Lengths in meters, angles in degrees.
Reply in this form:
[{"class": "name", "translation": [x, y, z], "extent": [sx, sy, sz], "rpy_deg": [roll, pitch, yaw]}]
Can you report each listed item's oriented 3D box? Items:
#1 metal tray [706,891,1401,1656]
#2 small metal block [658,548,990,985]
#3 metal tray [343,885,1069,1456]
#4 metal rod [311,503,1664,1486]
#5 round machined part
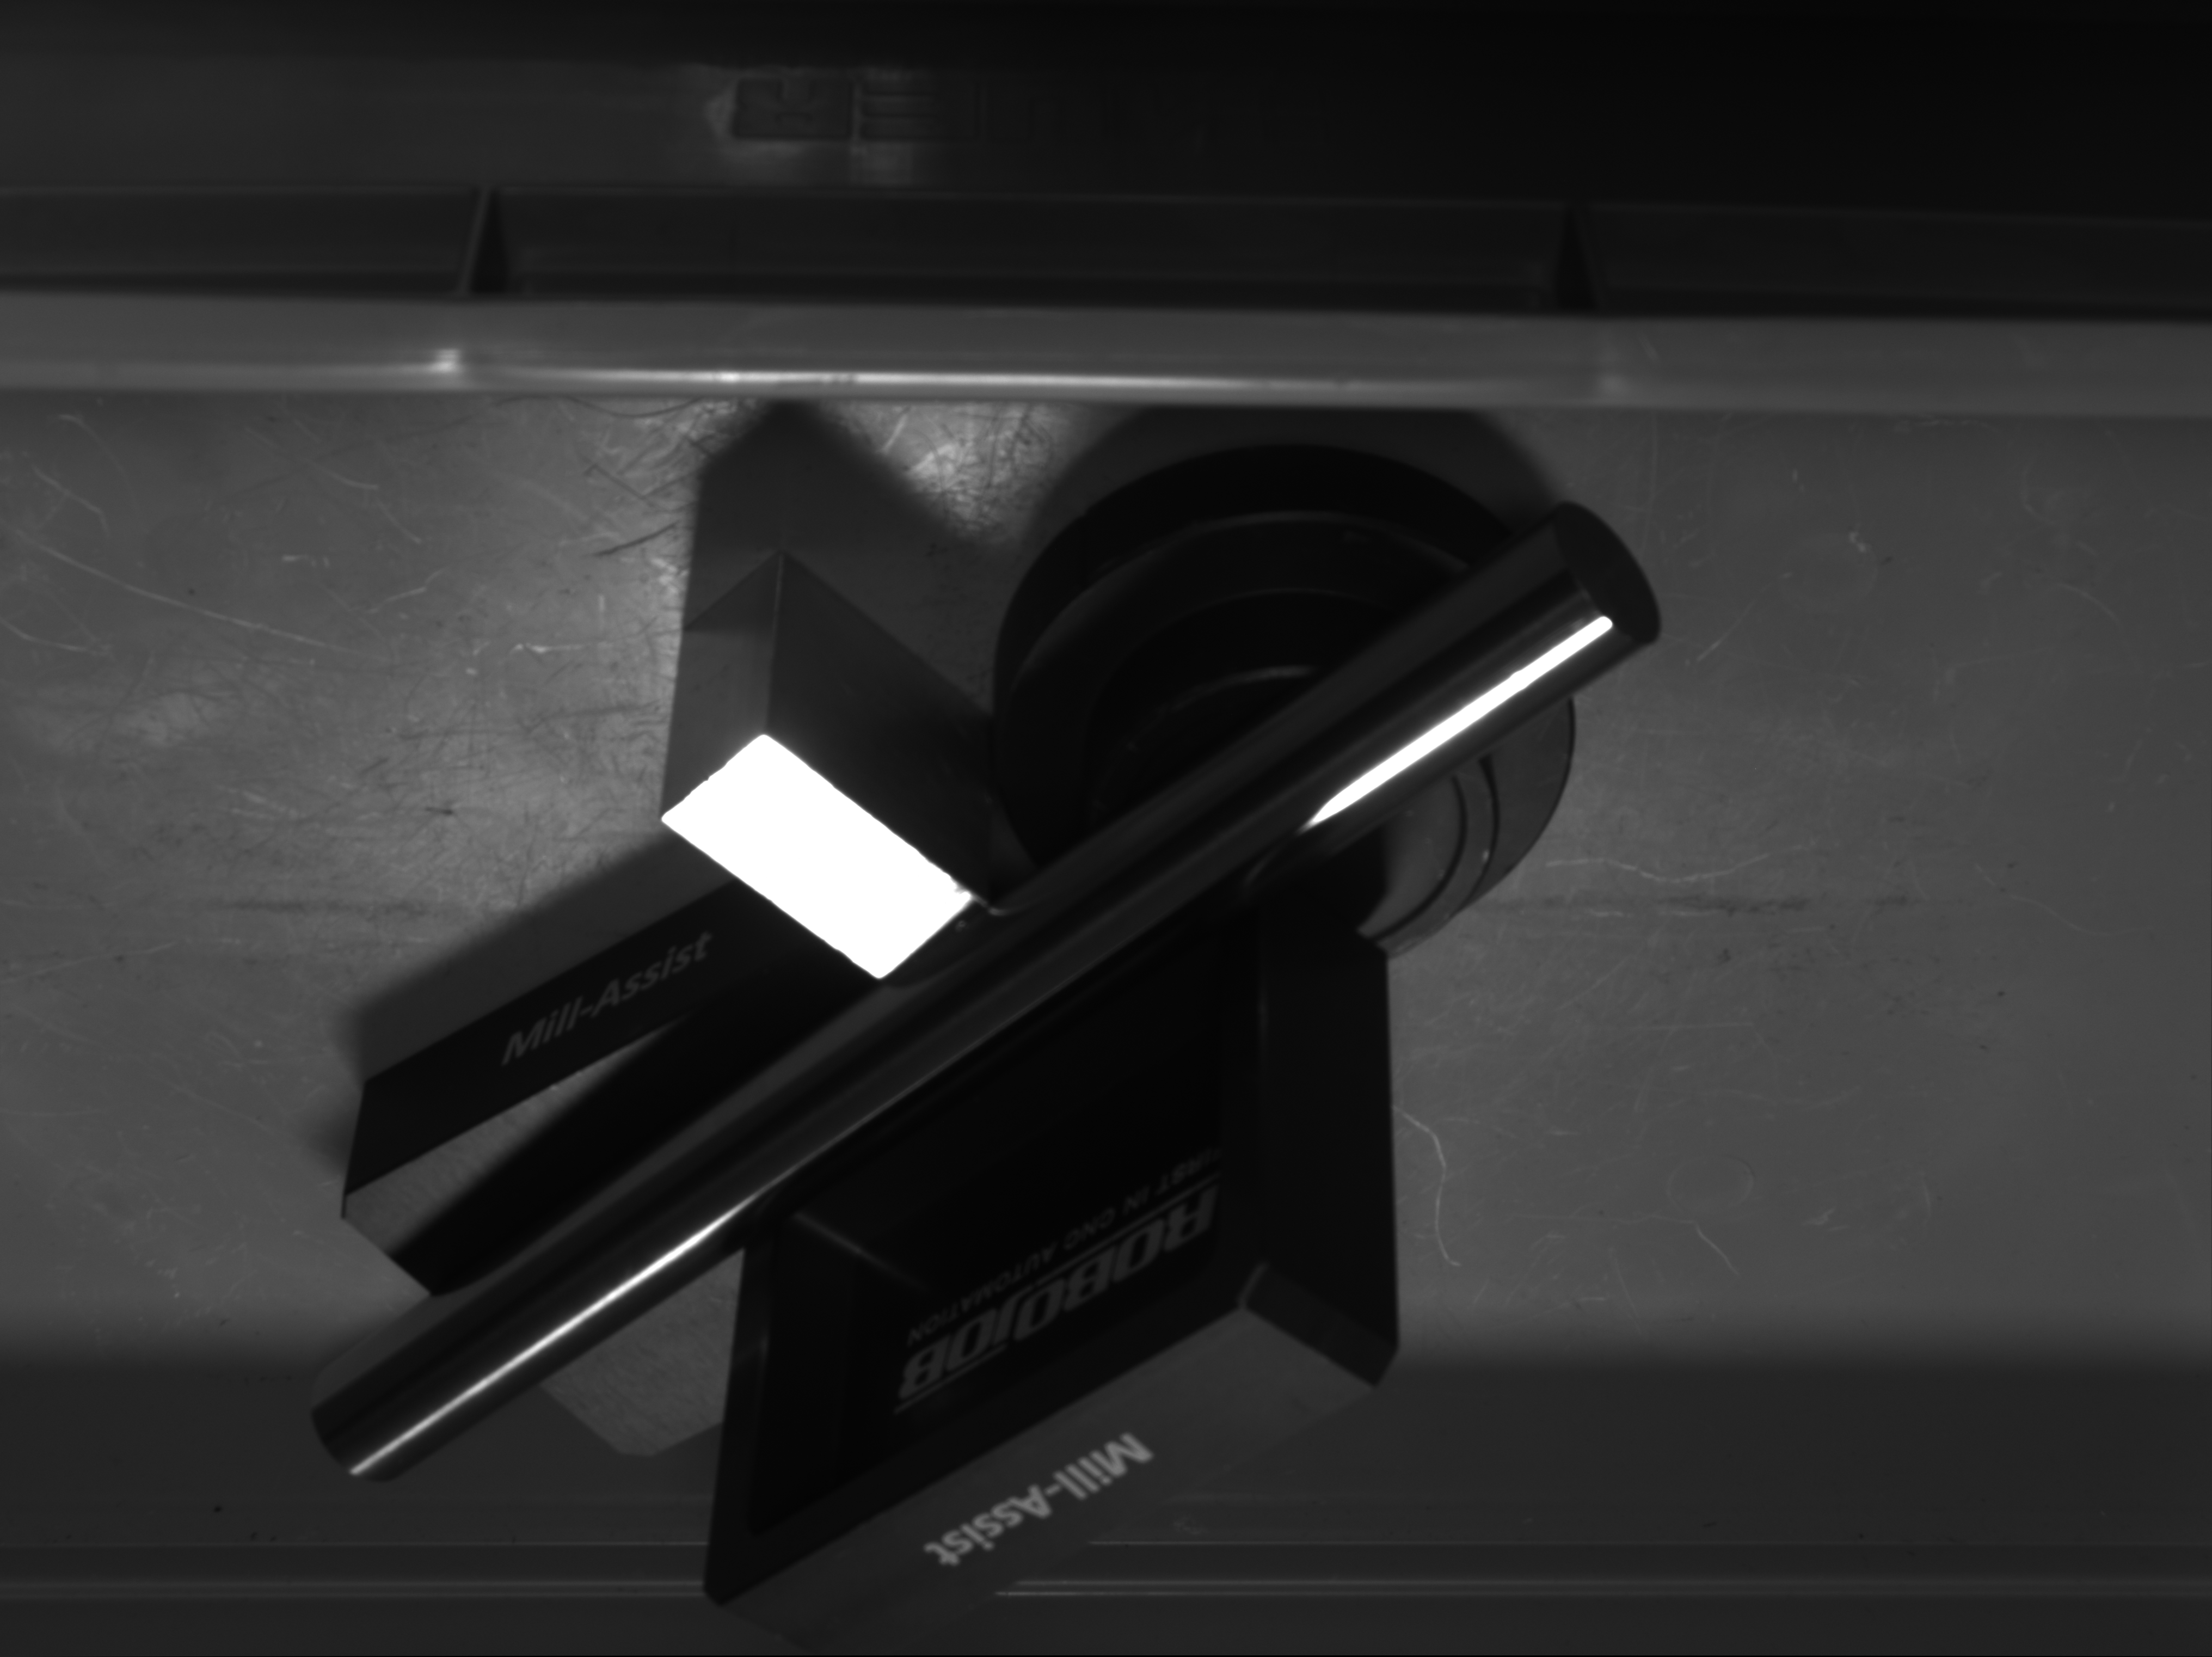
[{"class": "metal tray", "translation": [-0.010, 0.074, 0.607], "extent": [0.030, 0.090, 0.130], "rpy_deg": [35, 128, -30]}, {"class": "small metal block", "translation": [-0.046, -0.010, 0.610], "extent": [0.025, 0.050, 0.050], "rpy_deg": [-37, 122, 25]}, {"class": "metal tray", "translation": [-0.064, 0.059, 0.681], "extent": [0.130, 0.030, 0.090], "rpy_deg": [-28, 125, 20]}, {"class": "metal rod", "translation": [-0.032, 0.037, 0.616], "extent": [0.300, 0.025, 0.025], "rpy_deg": [-35, 123, 29]}, {"class": "round machined part", "translation": [0.030, -0.012, 0.616], "extent": [0.098, 0.042, 0.098], "rpy_deg": [-1, 130, -1]}]
